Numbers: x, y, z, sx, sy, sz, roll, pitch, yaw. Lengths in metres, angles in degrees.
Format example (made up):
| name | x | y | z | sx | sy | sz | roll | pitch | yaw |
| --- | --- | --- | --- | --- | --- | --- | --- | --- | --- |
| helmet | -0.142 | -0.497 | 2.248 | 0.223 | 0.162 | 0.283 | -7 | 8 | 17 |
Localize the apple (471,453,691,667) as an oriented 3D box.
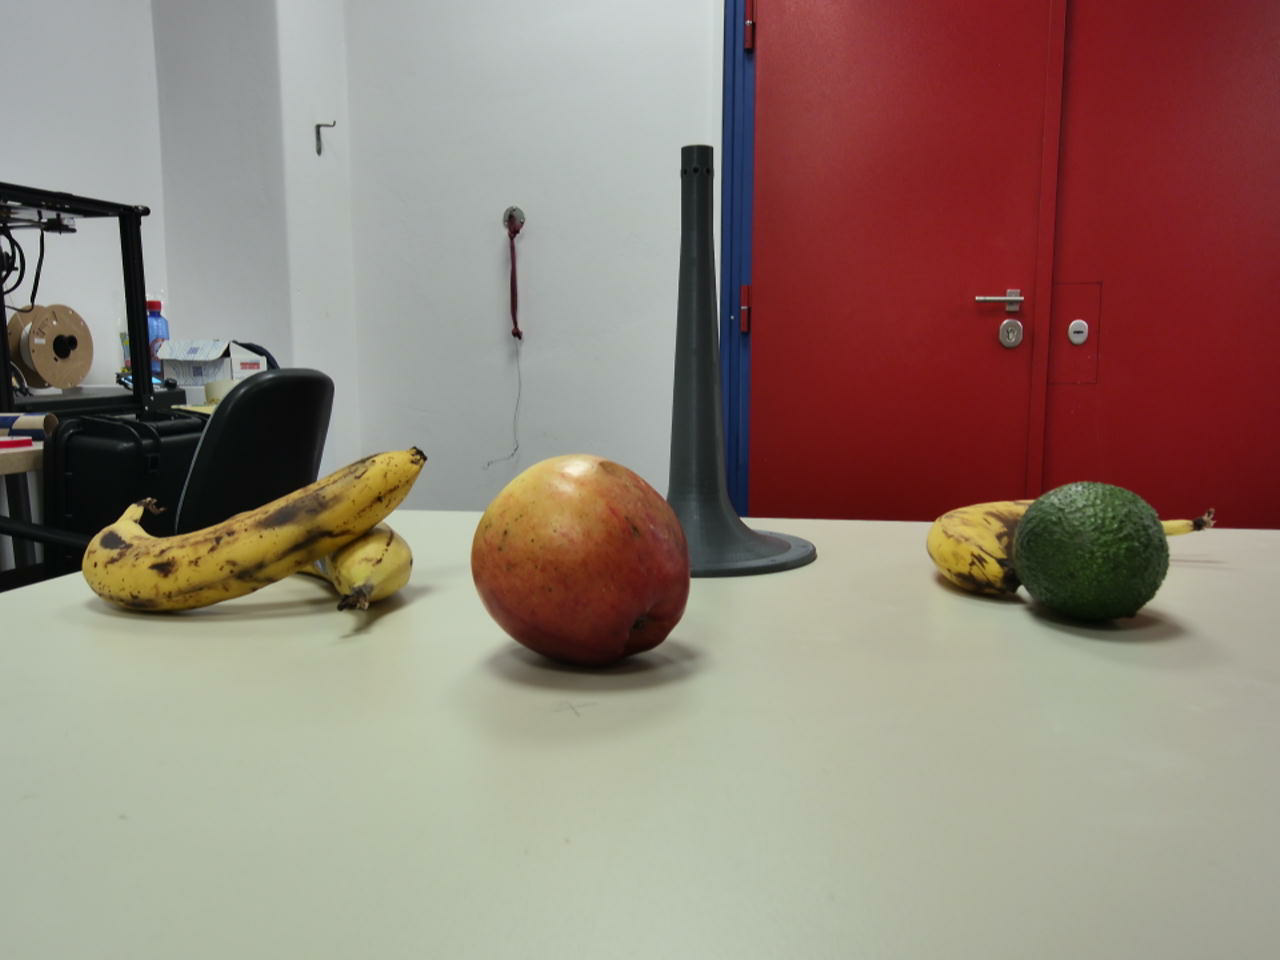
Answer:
| name | x | y | z | sx | sy | sz | roll | pitch | yaw |
| --- | --- | --- | --- | --- | --- | --- | --- | --- | --- |
| apple | -0.025 | 0.032 | 0.417 | 0.086 | 0.084 | 0.093 | -2 | 4 | -24 |
